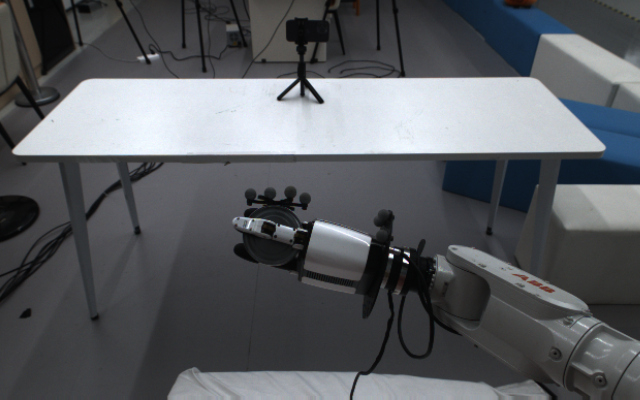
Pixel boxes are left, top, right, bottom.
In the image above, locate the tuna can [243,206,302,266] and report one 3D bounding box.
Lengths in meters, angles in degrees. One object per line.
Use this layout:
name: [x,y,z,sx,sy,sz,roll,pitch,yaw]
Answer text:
tuna can: [-0.064,0.052,0.695,0.085,0.034,0.085,0,77,-1]
